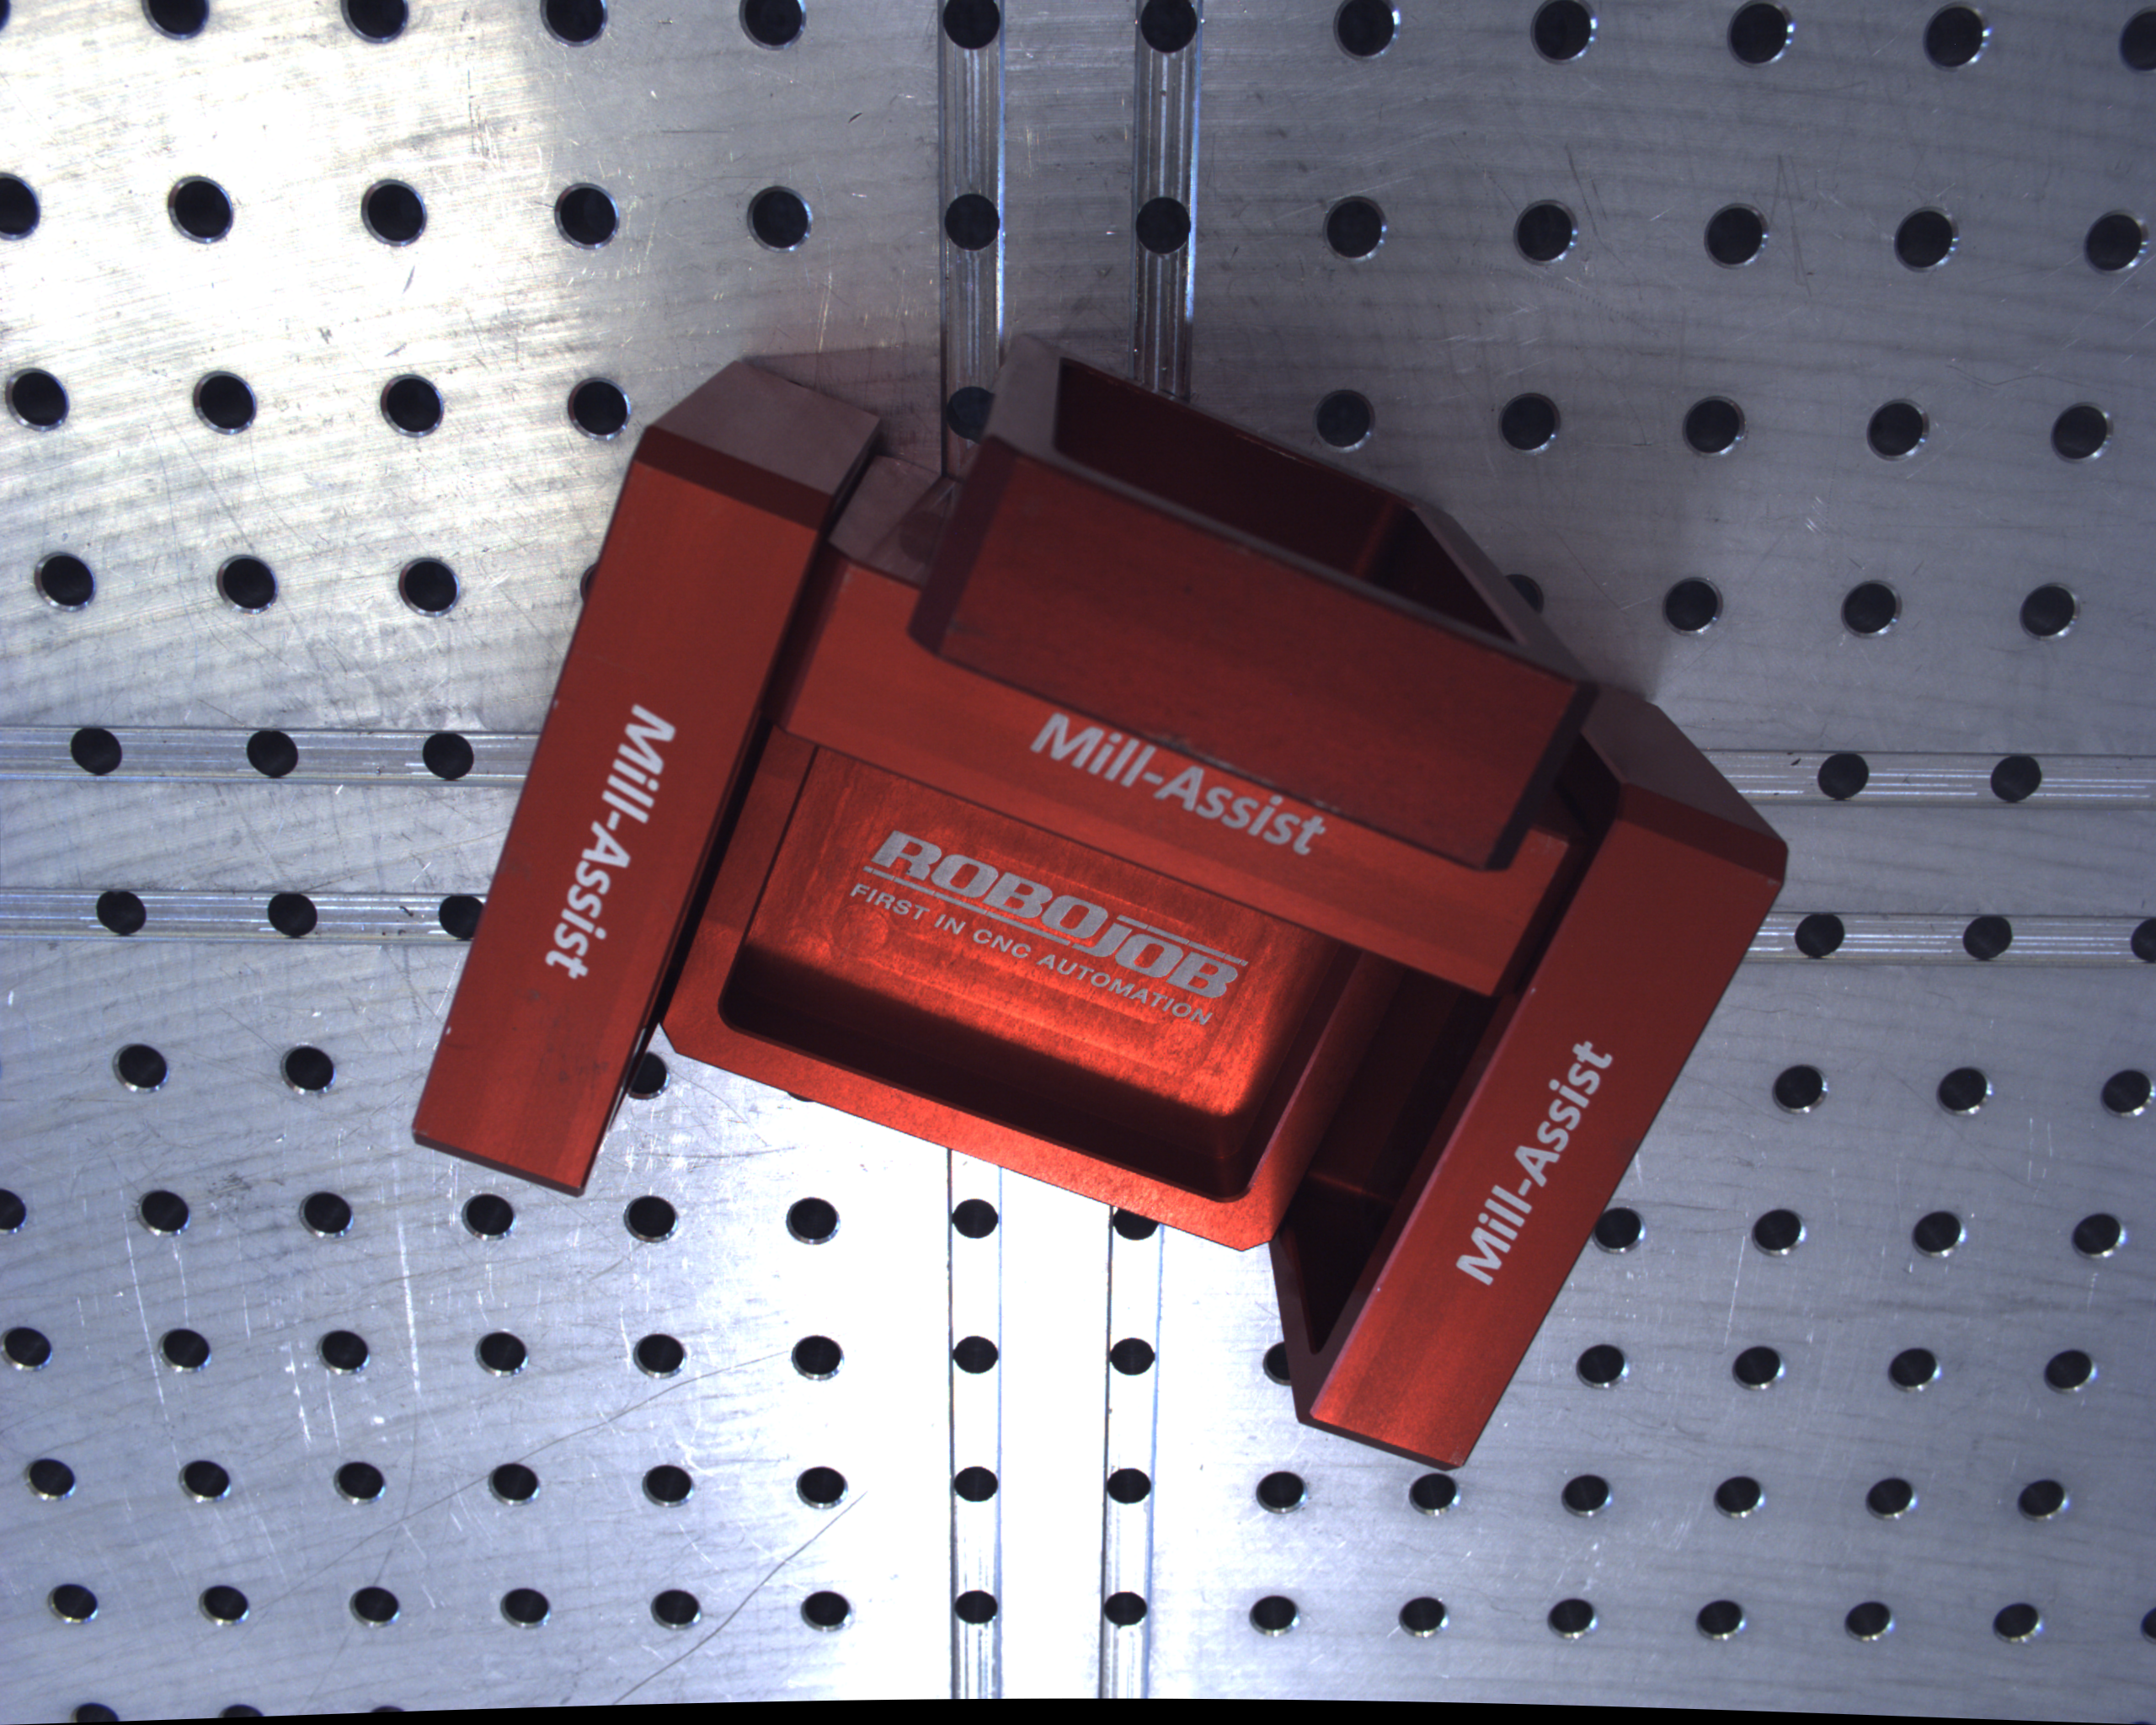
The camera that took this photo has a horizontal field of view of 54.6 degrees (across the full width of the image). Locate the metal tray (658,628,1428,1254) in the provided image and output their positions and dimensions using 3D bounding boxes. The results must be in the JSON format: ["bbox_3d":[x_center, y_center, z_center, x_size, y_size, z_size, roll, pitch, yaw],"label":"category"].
[{"bbox_3d":[-0.006,0.015,0.415,0.131,0.030,0.089,21,109,-8],"label":"metal tray"}]

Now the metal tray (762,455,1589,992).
[{"bbox_3d":[0.016,-0.028,0.368,0.131,0.090,0.030,20,109,-8],"label":"metal tray"}]

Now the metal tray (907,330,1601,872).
[{"bbox_3d":[0.024,-0.048,0.339,0.090,0.130,0.030,21,109,-8],"label":"metal tray"}]

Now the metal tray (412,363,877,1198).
[{"bbox_3d":[-0.075,-0.018,0.371,0.030,0.090,0.129,20,109,-8],"label":"metal tray"}]

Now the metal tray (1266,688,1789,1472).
[{"bbox_3d":[0.077,0.035,0.391,0.030,0.090,0.129,21,109,-7],"label":"metal tray"}]
